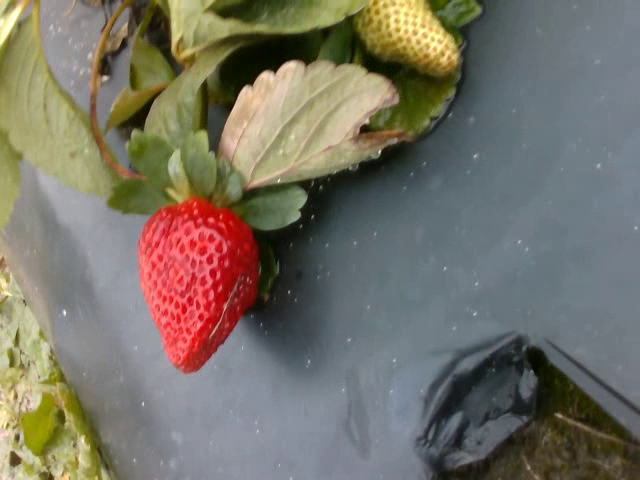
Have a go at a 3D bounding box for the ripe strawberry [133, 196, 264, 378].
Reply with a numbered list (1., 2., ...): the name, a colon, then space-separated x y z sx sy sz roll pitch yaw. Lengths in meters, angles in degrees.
1. ripe strawberry: -0.041 0.015 0.209 0.048 0.064 0.046 4 -31 5
